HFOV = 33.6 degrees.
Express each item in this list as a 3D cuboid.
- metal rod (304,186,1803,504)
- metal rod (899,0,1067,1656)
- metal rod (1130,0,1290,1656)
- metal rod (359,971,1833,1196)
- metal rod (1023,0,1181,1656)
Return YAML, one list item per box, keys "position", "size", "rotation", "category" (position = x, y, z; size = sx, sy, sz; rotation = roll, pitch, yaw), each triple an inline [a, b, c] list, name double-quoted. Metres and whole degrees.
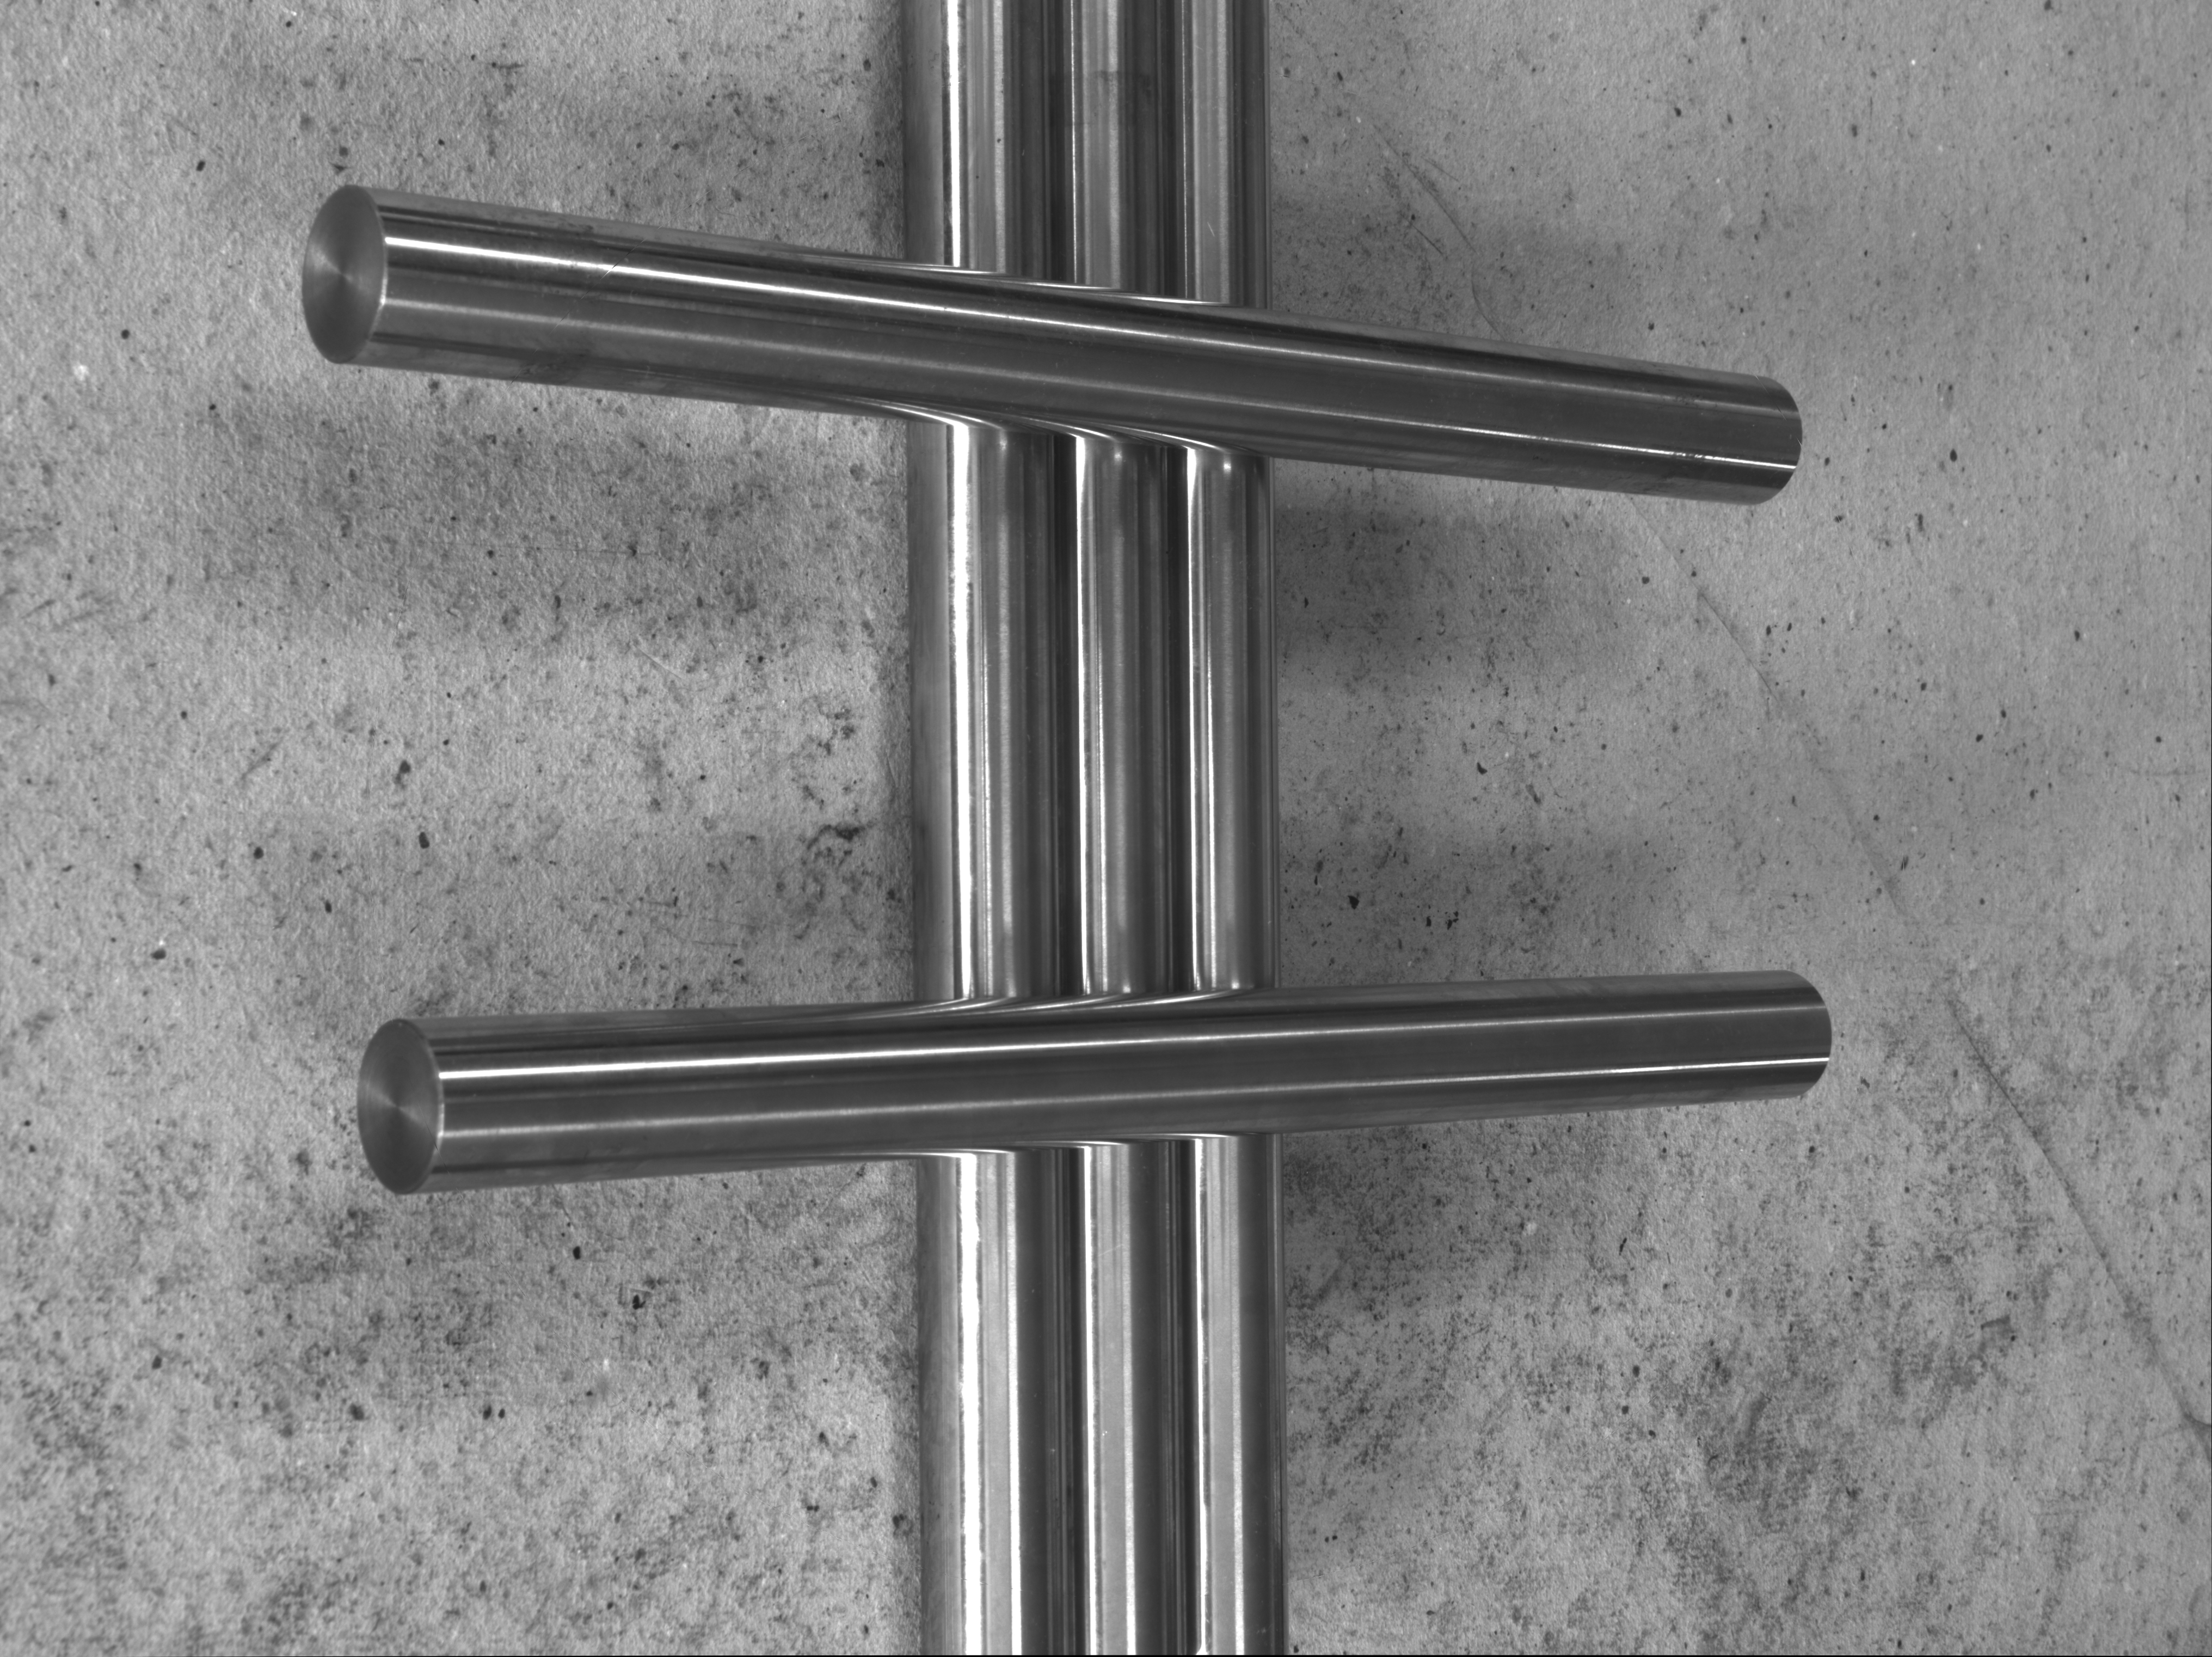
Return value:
- position: [0.009, -0.076, 0.611]
  size: [0.301, 0.025, 0.025]
  rotation: [1, 89, -40]
  category: "metal rod"
- position: [-0.021, -0.004, 0.619]
  size: [0.025, 0.025, 0.300]
  rotation: [-1, 91, -40]
  category: "metal rod"
- position: [0.018, -0.003, 0.651]
  size: [0.025, 0.025, 0.300]
  rotation: [-1, 91, -40]
  category: "metal rod"
- position: [0.016, 0.040, 0.616]
  size: [0.301, 0.025, 0.025]
  rotation: [0, 90, -40]
  category: "metal rod"
- position: [-0.001, -0.004, 0.635]
  size: [0.025, 0.025, 0.300]
  rotation: [-1, 91, -40]
  category: "metal rod"
